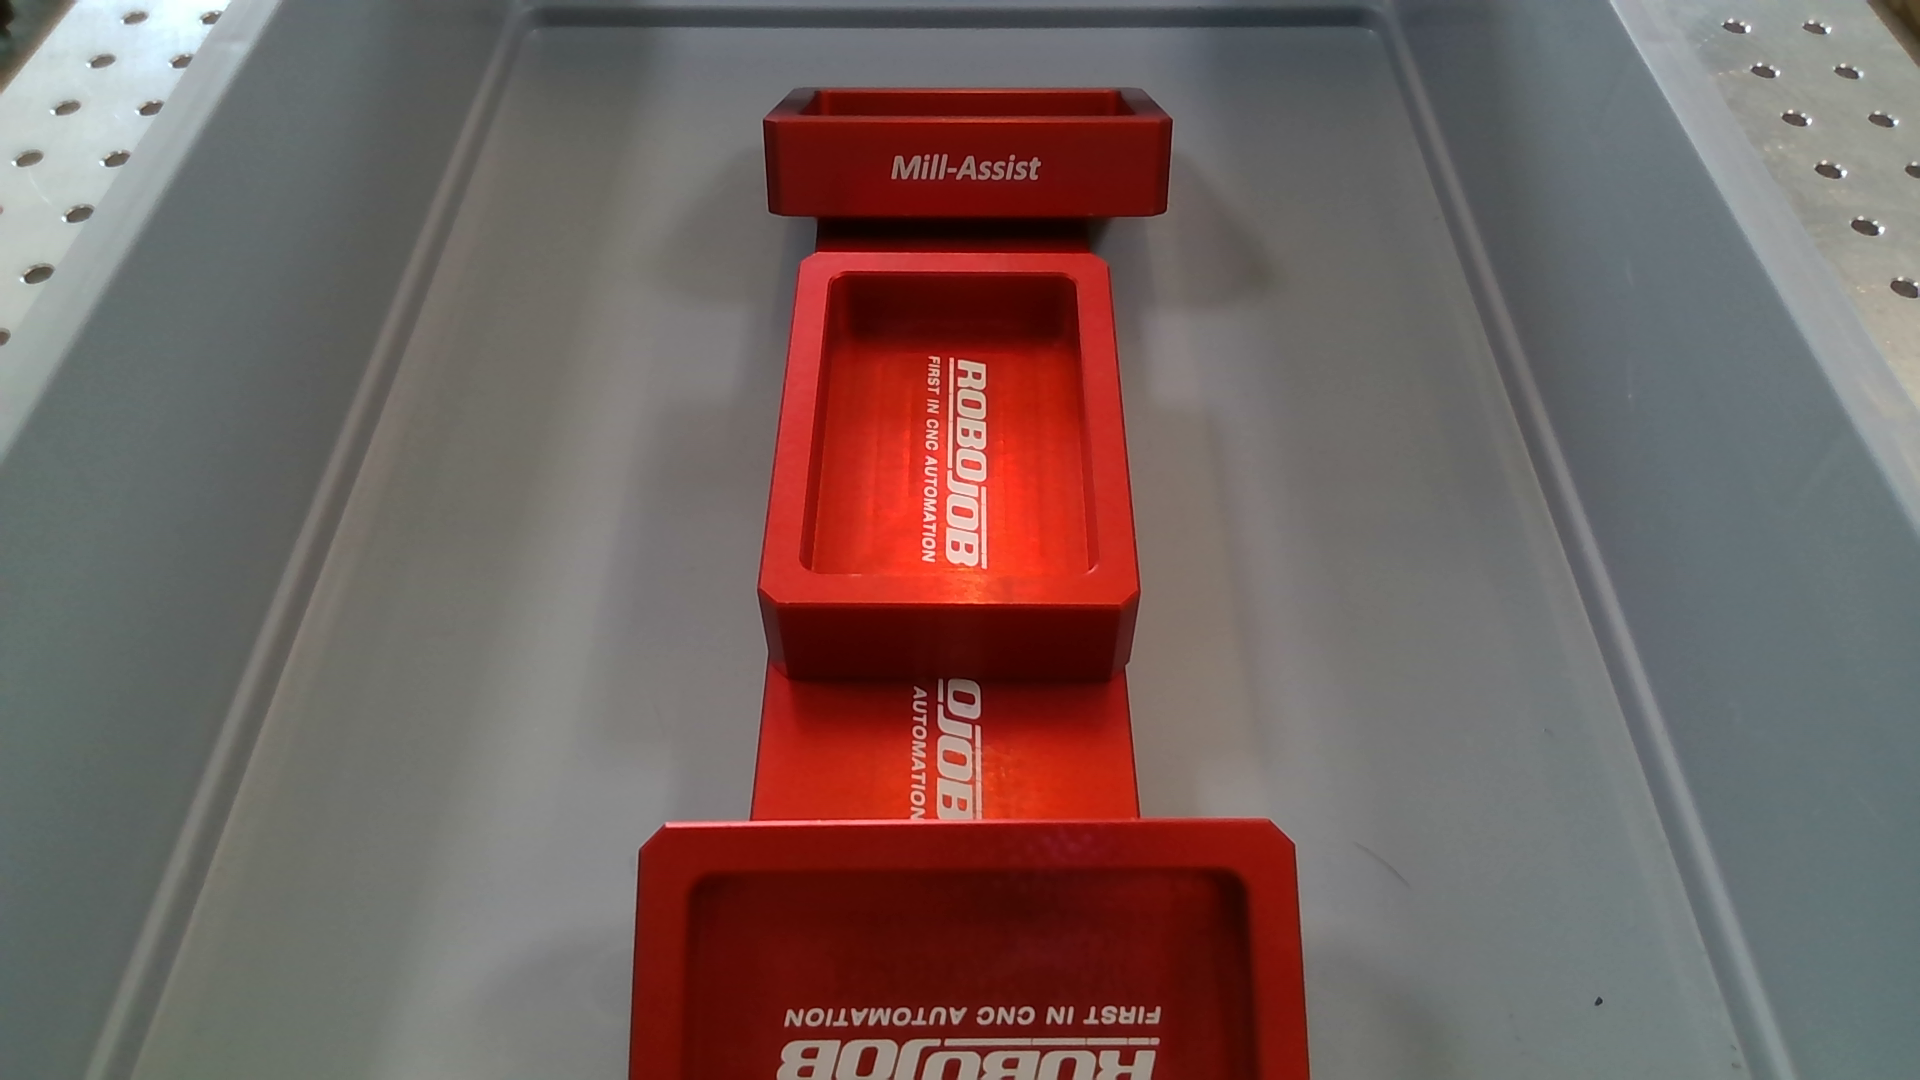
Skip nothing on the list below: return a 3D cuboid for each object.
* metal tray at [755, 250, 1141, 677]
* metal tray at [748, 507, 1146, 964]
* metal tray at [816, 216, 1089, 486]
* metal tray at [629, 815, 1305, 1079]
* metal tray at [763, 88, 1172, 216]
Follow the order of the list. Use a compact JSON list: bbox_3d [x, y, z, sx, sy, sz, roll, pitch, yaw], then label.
[{"bbox_3d":[-0.002,-0.025,0.371,0.090,0.030,0.130,1,50,0],"label":"metal tray"},{"bbox_3d":[-0.004,0.045,0.352,0.090,0.030,0.130,0,50,0],"label":"metal tray"},{"bbox_3d":[-0.002,-0.054,0.435,0.090,0.030,0.130,0,50,0],"label":"metal tray"},{"bbox_3d":[0.001,0.102,0.279,0.130,0.030,0.090,0,79,0],"label":"metal tray"},{"bbox_3d":[0.003,-0.137,0.480,0.130,0.030,0.090,0,25,0],"label":"metal tray"}]
